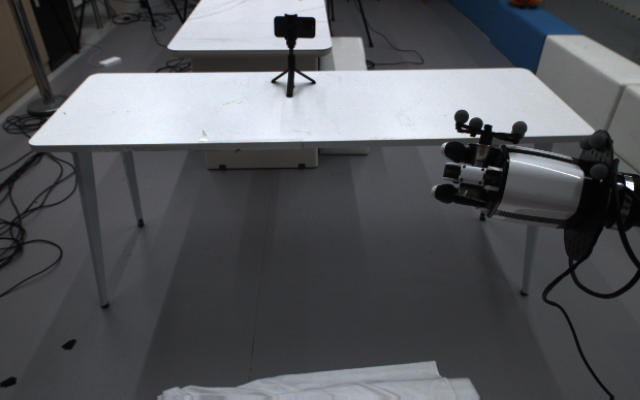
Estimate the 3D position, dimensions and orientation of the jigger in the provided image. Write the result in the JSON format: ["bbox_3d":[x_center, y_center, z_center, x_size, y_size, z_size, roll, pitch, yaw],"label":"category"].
[{"bbox_3d":[0.203,-0.035,0.619,0.043,0.071,0.043,14,1,0],"label":"jigger"}]
